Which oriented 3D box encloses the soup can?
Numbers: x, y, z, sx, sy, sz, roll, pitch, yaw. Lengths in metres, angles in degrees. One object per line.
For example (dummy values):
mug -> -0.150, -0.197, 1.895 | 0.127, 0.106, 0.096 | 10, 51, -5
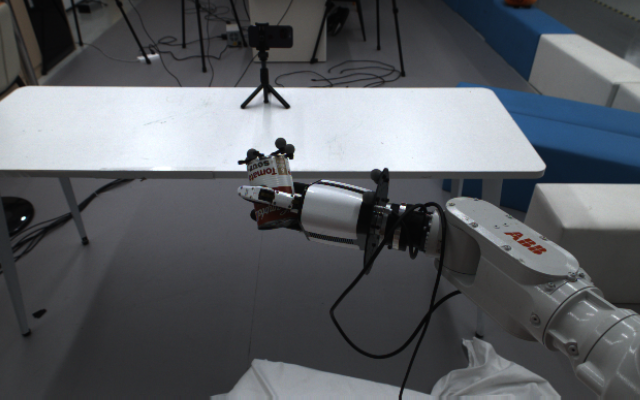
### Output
soup can -> -0.072, -0.010, 0.745 | 0.067, 0.067, 0.101 | -10, 80, -16
